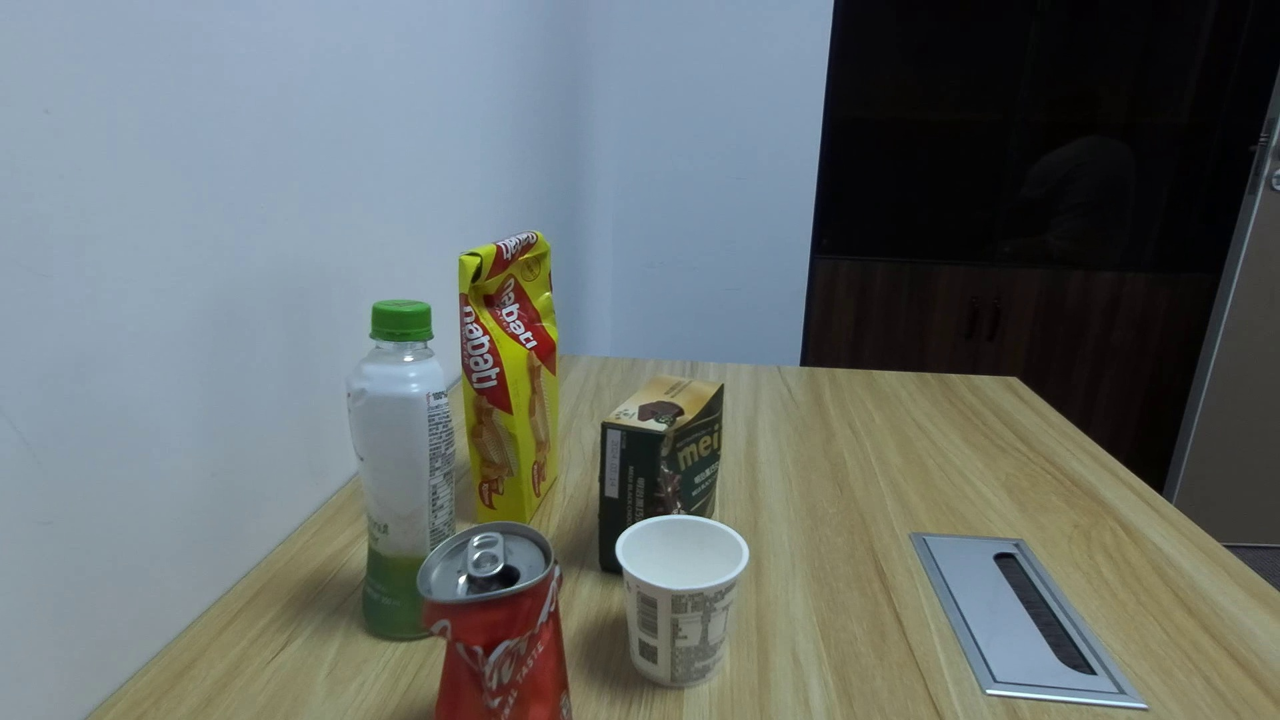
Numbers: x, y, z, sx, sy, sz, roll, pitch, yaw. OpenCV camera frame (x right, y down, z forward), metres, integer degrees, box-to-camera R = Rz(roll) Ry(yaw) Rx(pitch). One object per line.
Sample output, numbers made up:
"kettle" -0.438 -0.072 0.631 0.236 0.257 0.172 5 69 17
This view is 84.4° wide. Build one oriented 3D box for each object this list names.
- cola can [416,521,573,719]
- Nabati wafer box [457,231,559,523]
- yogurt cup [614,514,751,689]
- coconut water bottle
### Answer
"cola can" -0.066 0.137 0.332 0.065 0.112 0.069 13 27 24
"Nabati wafer box" -0.094 0.013 0.530 0.042 0.205 0.113 3 19 9
"yogurt cup" 0.022 0.131 0.384 0.072 0.068 0.072 1 18 0
"coconut water bottle" -0.132 0.061 0.402 0.069 0.187 0.069 0 15 0
